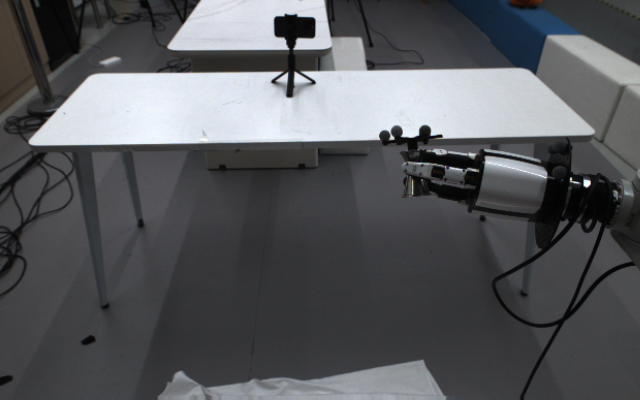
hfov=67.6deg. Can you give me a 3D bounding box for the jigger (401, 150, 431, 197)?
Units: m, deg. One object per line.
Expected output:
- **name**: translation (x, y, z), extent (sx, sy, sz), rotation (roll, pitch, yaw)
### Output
- **jigger**: translation (0.140, -0.041, 0.722), extent (0.043, 0.071, 0.043), rotation (-4, 1, 0)
